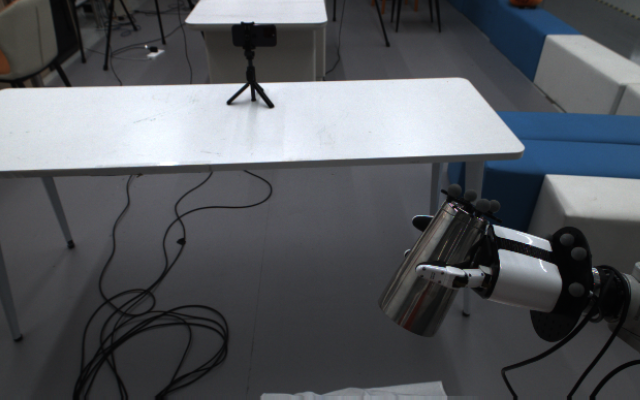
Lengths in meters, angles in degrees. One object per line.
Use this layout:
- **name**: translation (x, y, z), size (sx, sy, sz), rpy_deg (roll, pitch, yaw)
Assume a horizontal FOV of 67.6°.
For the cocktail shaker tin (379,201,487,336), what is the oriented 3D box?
- **cocktail shaker tin**: translation (0.161, 0.086, 0.660), size (0.093, 0.170, 0.093), rpy_deg (24, 13, -6)
